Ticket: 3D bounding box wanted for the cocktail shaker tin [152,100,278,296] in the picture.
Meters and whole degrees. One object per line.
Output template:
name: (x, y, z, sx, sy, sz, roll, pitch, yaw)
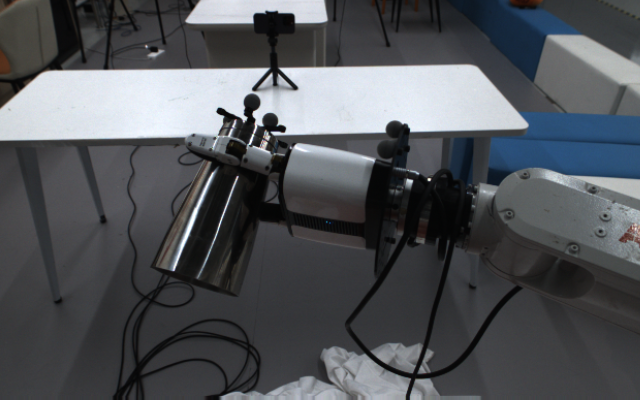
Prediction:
cocktail shaker tin: (-0.099, 0.003, 0.510, 0.093, 0.093, 0.170, 13, 71, 15)
